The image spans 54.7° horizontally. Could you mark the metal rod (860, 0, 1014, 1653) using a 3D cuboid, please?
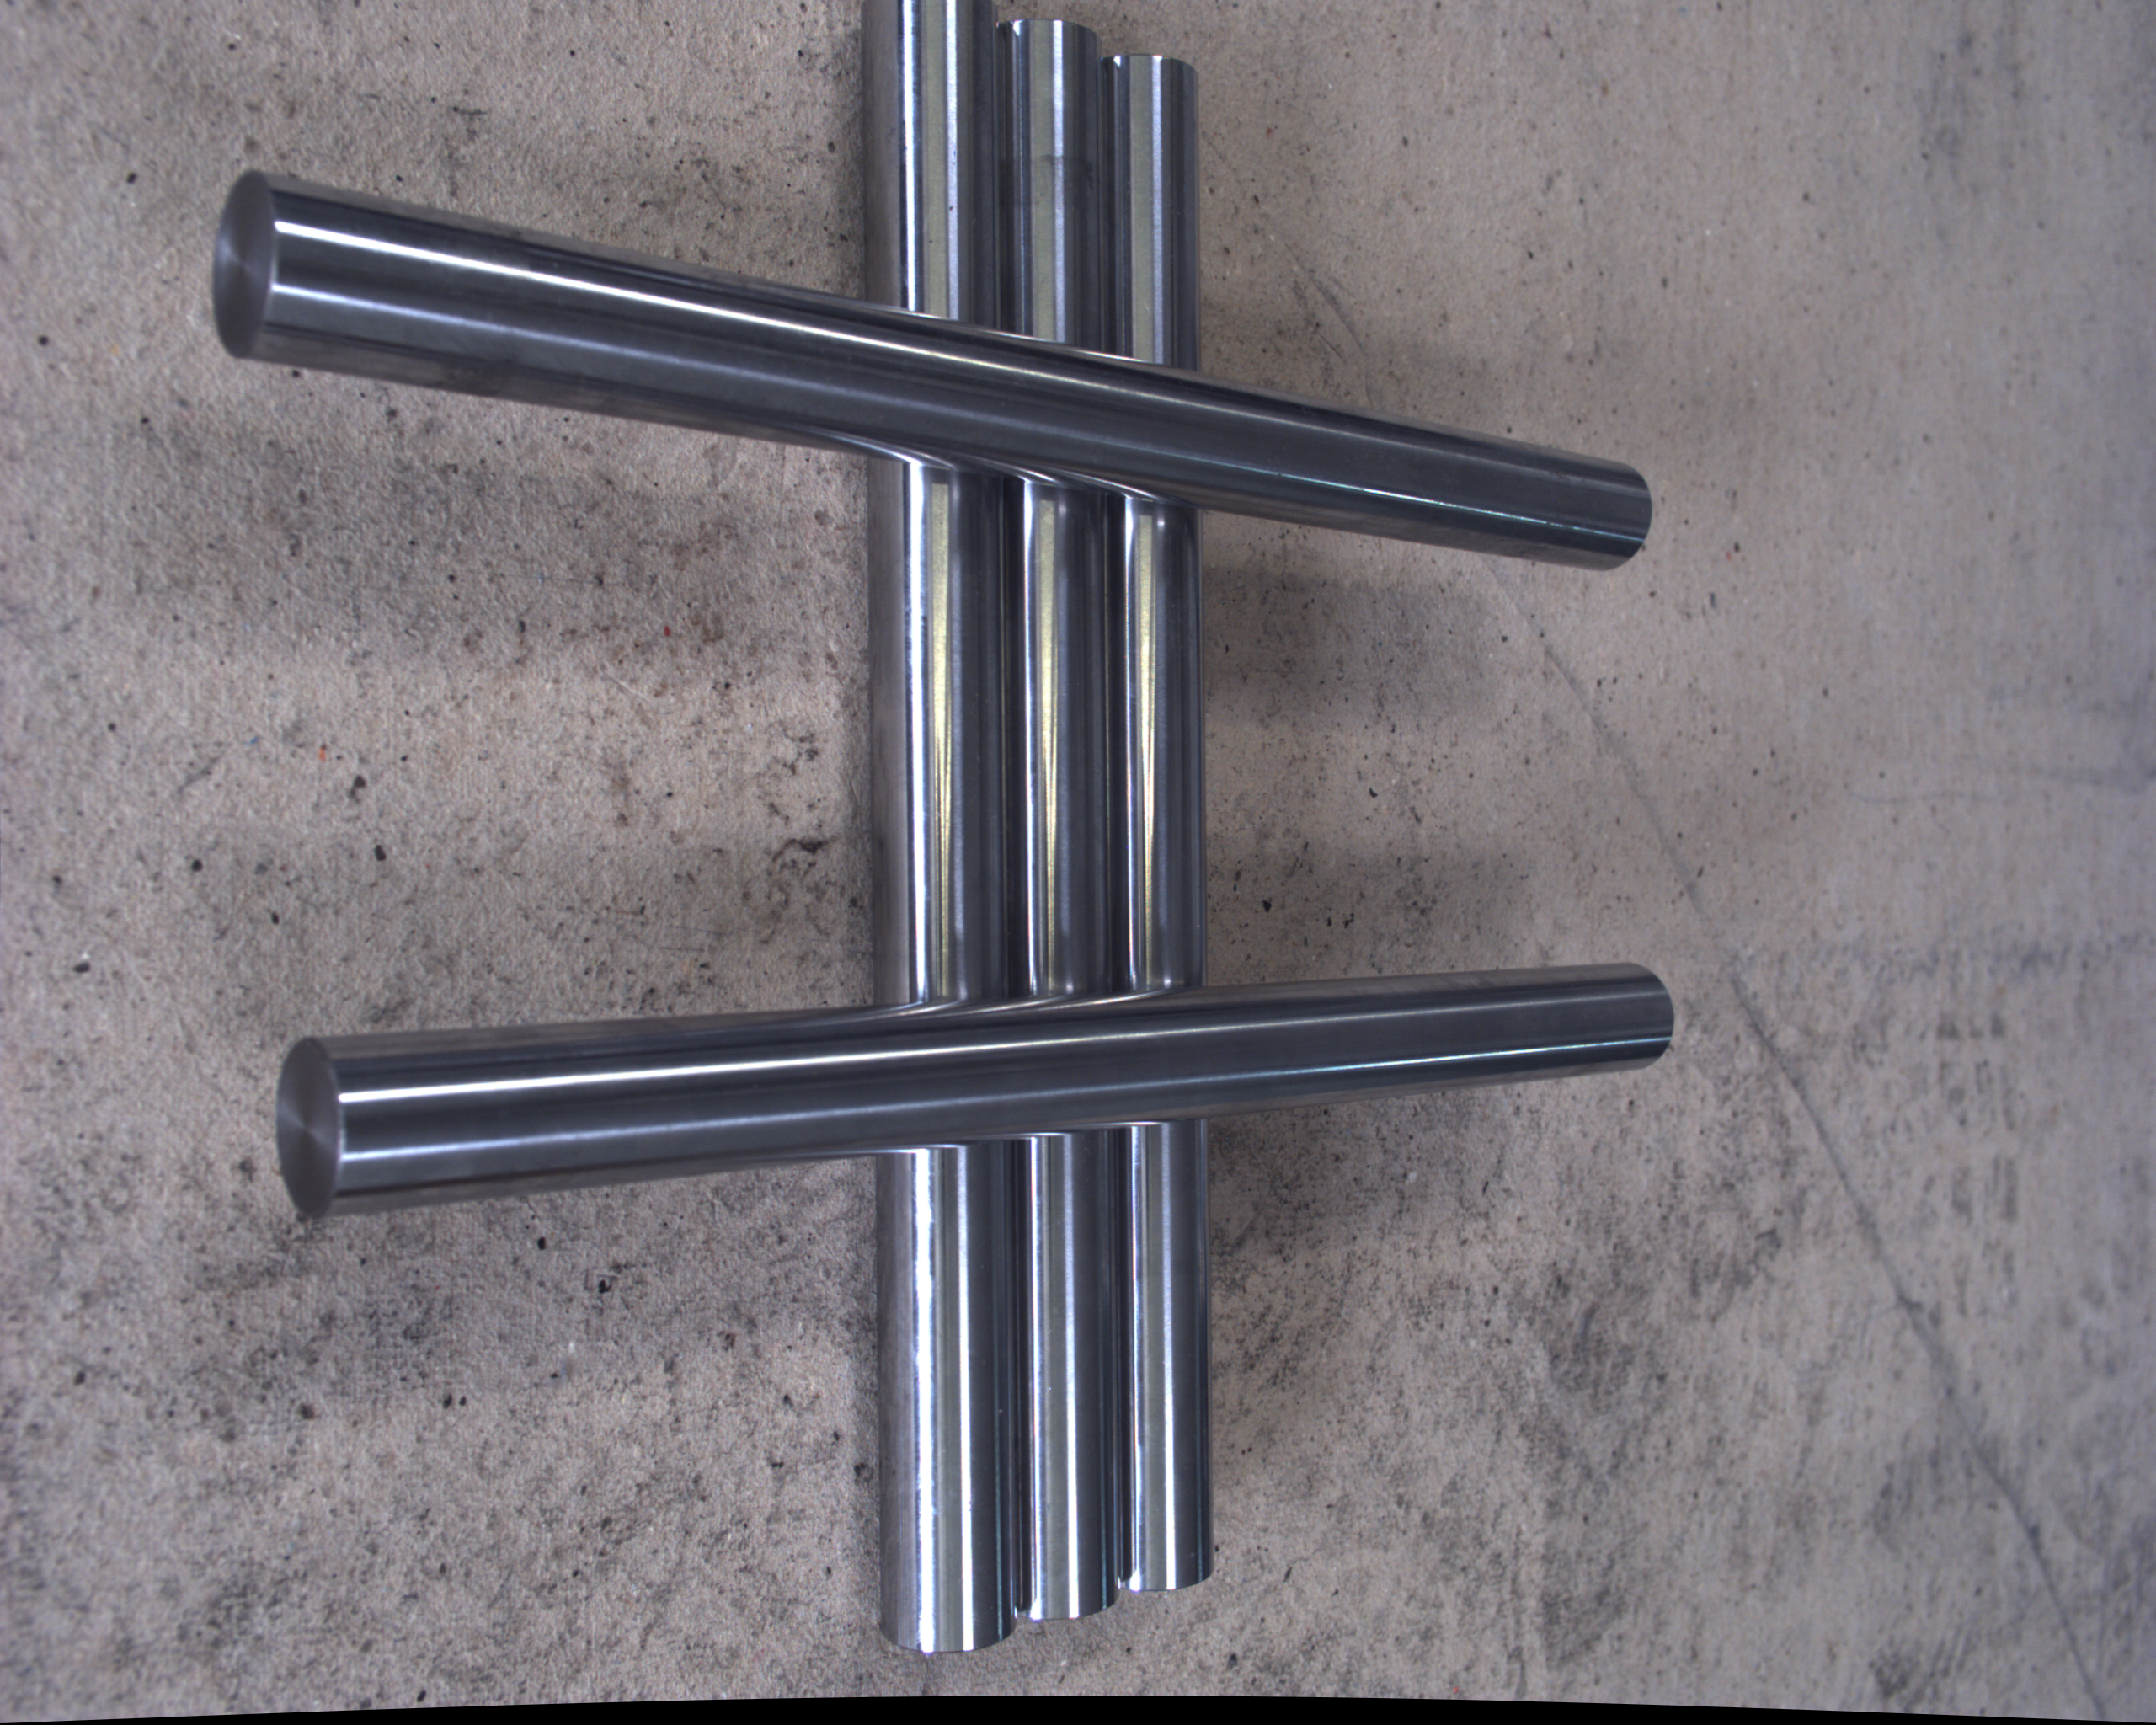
[{"bbox_3d":[-0.026,-0.008,0.384,0.025,0.025,0.298,-1,91,-40],"label":"metal rod"}]

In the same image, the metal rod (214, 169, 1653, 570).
[{"bbox_3d":[0.004,-0.079,0.377,0.302,0.025,0.025,0,90,-40],"label":"metal rod"}]

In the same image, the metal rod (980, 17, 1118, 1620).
[{"bbox_3d":[-0.007,-0.008,0.400,0.025,0.025,0.298,-1,91,-40],"label":"metal rod"}]

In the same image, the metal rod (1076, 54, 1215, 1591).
[{"bbox_3d":[0.013,-0.007,0.417,0.025,0.025,0.298,-1,91,-40],"label":"metal rod"}]

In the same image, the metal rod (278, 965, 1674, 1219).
[{"bbox_3d":[0.011,0.036,0.383,0.302,0.025,0.025,0,90,-40],"label":"metal rod"}]
